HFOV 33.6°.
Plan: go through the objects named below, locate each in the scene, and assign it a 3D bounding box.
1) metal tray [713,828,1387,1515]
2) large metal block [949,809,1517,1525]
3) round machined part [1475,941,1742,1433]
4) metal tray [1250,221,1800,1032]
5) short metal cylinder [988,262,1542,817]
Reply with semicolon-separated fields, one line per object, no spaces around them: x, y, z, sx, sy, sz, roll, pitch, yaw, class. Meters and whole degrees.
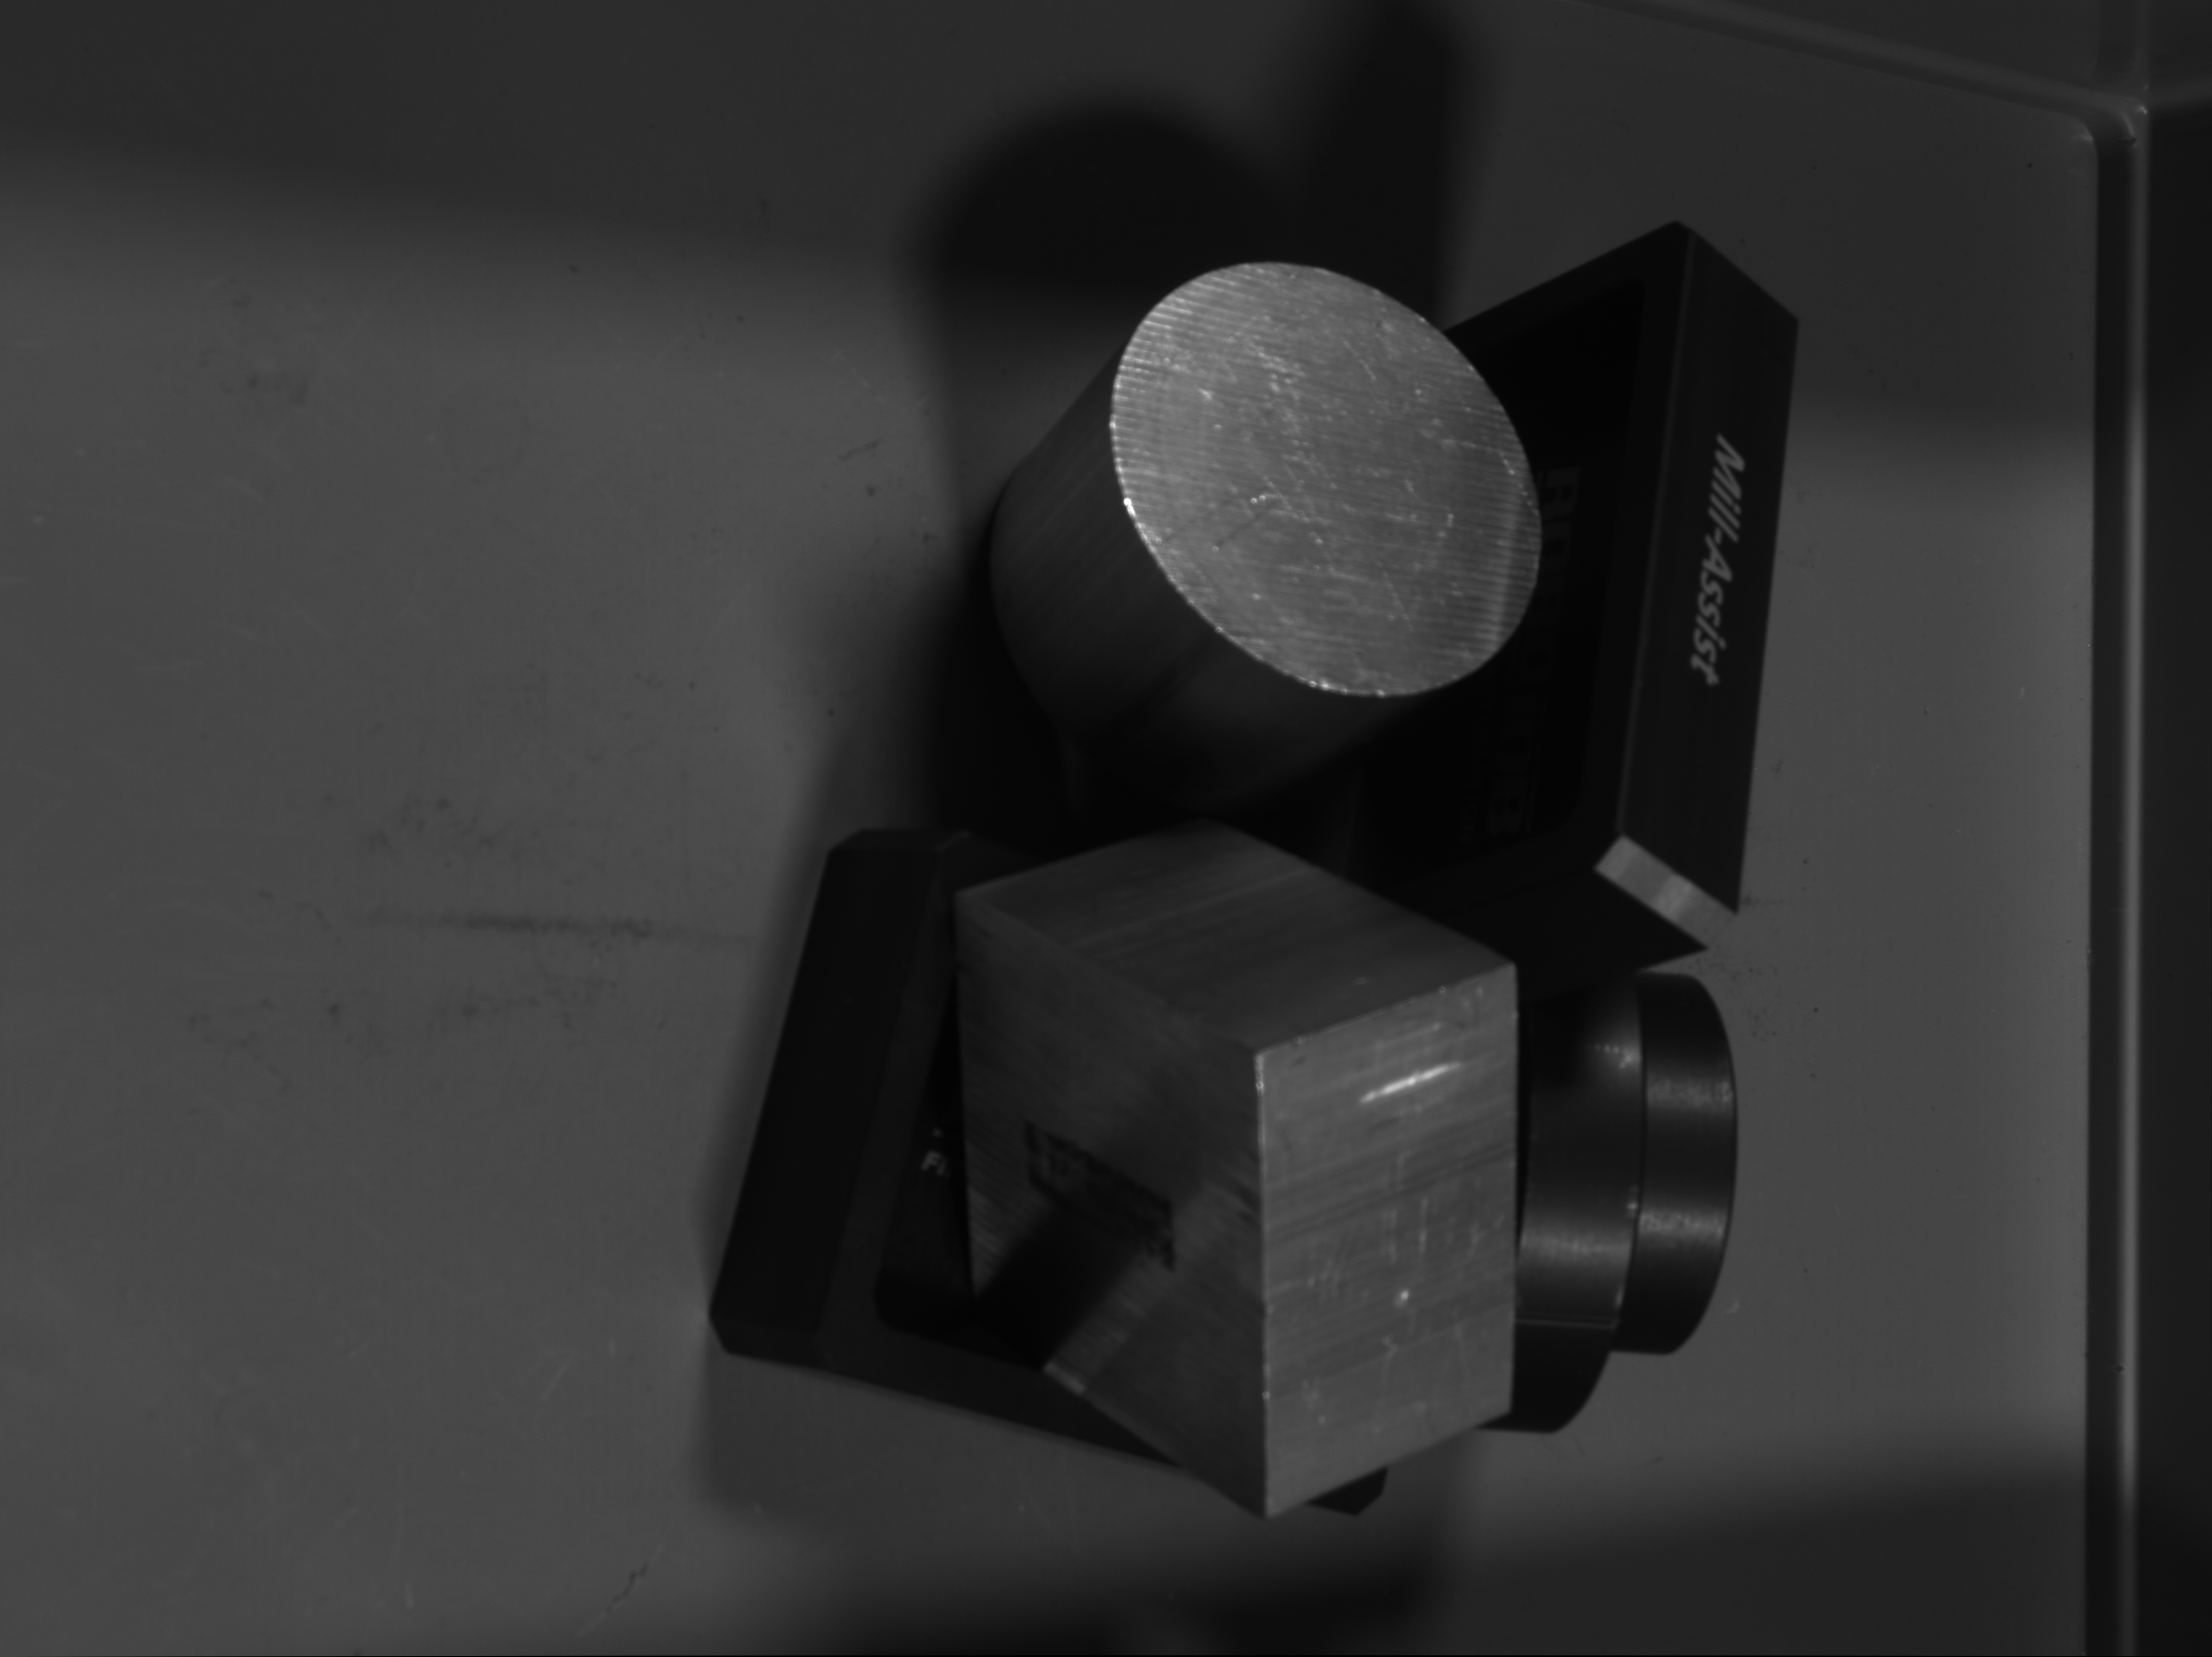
0.002;0.061;0.633;0.130;0.030;0.090;22;76;-37;metal tray
0.020;0.051;0.587;0.050;0.080;0.080;-17;117;-32;large metal block
0.082;0.059;0.652;0.042;0.098;0.098;5;86;-9;round machined part
0.071;-0.032;0.632;0.030;0.090;0.130;32;55;-32;metal tray
0.027;-0.049;0.623;0.080;0.050;0.080;11;62;-23;short metal cylinder
